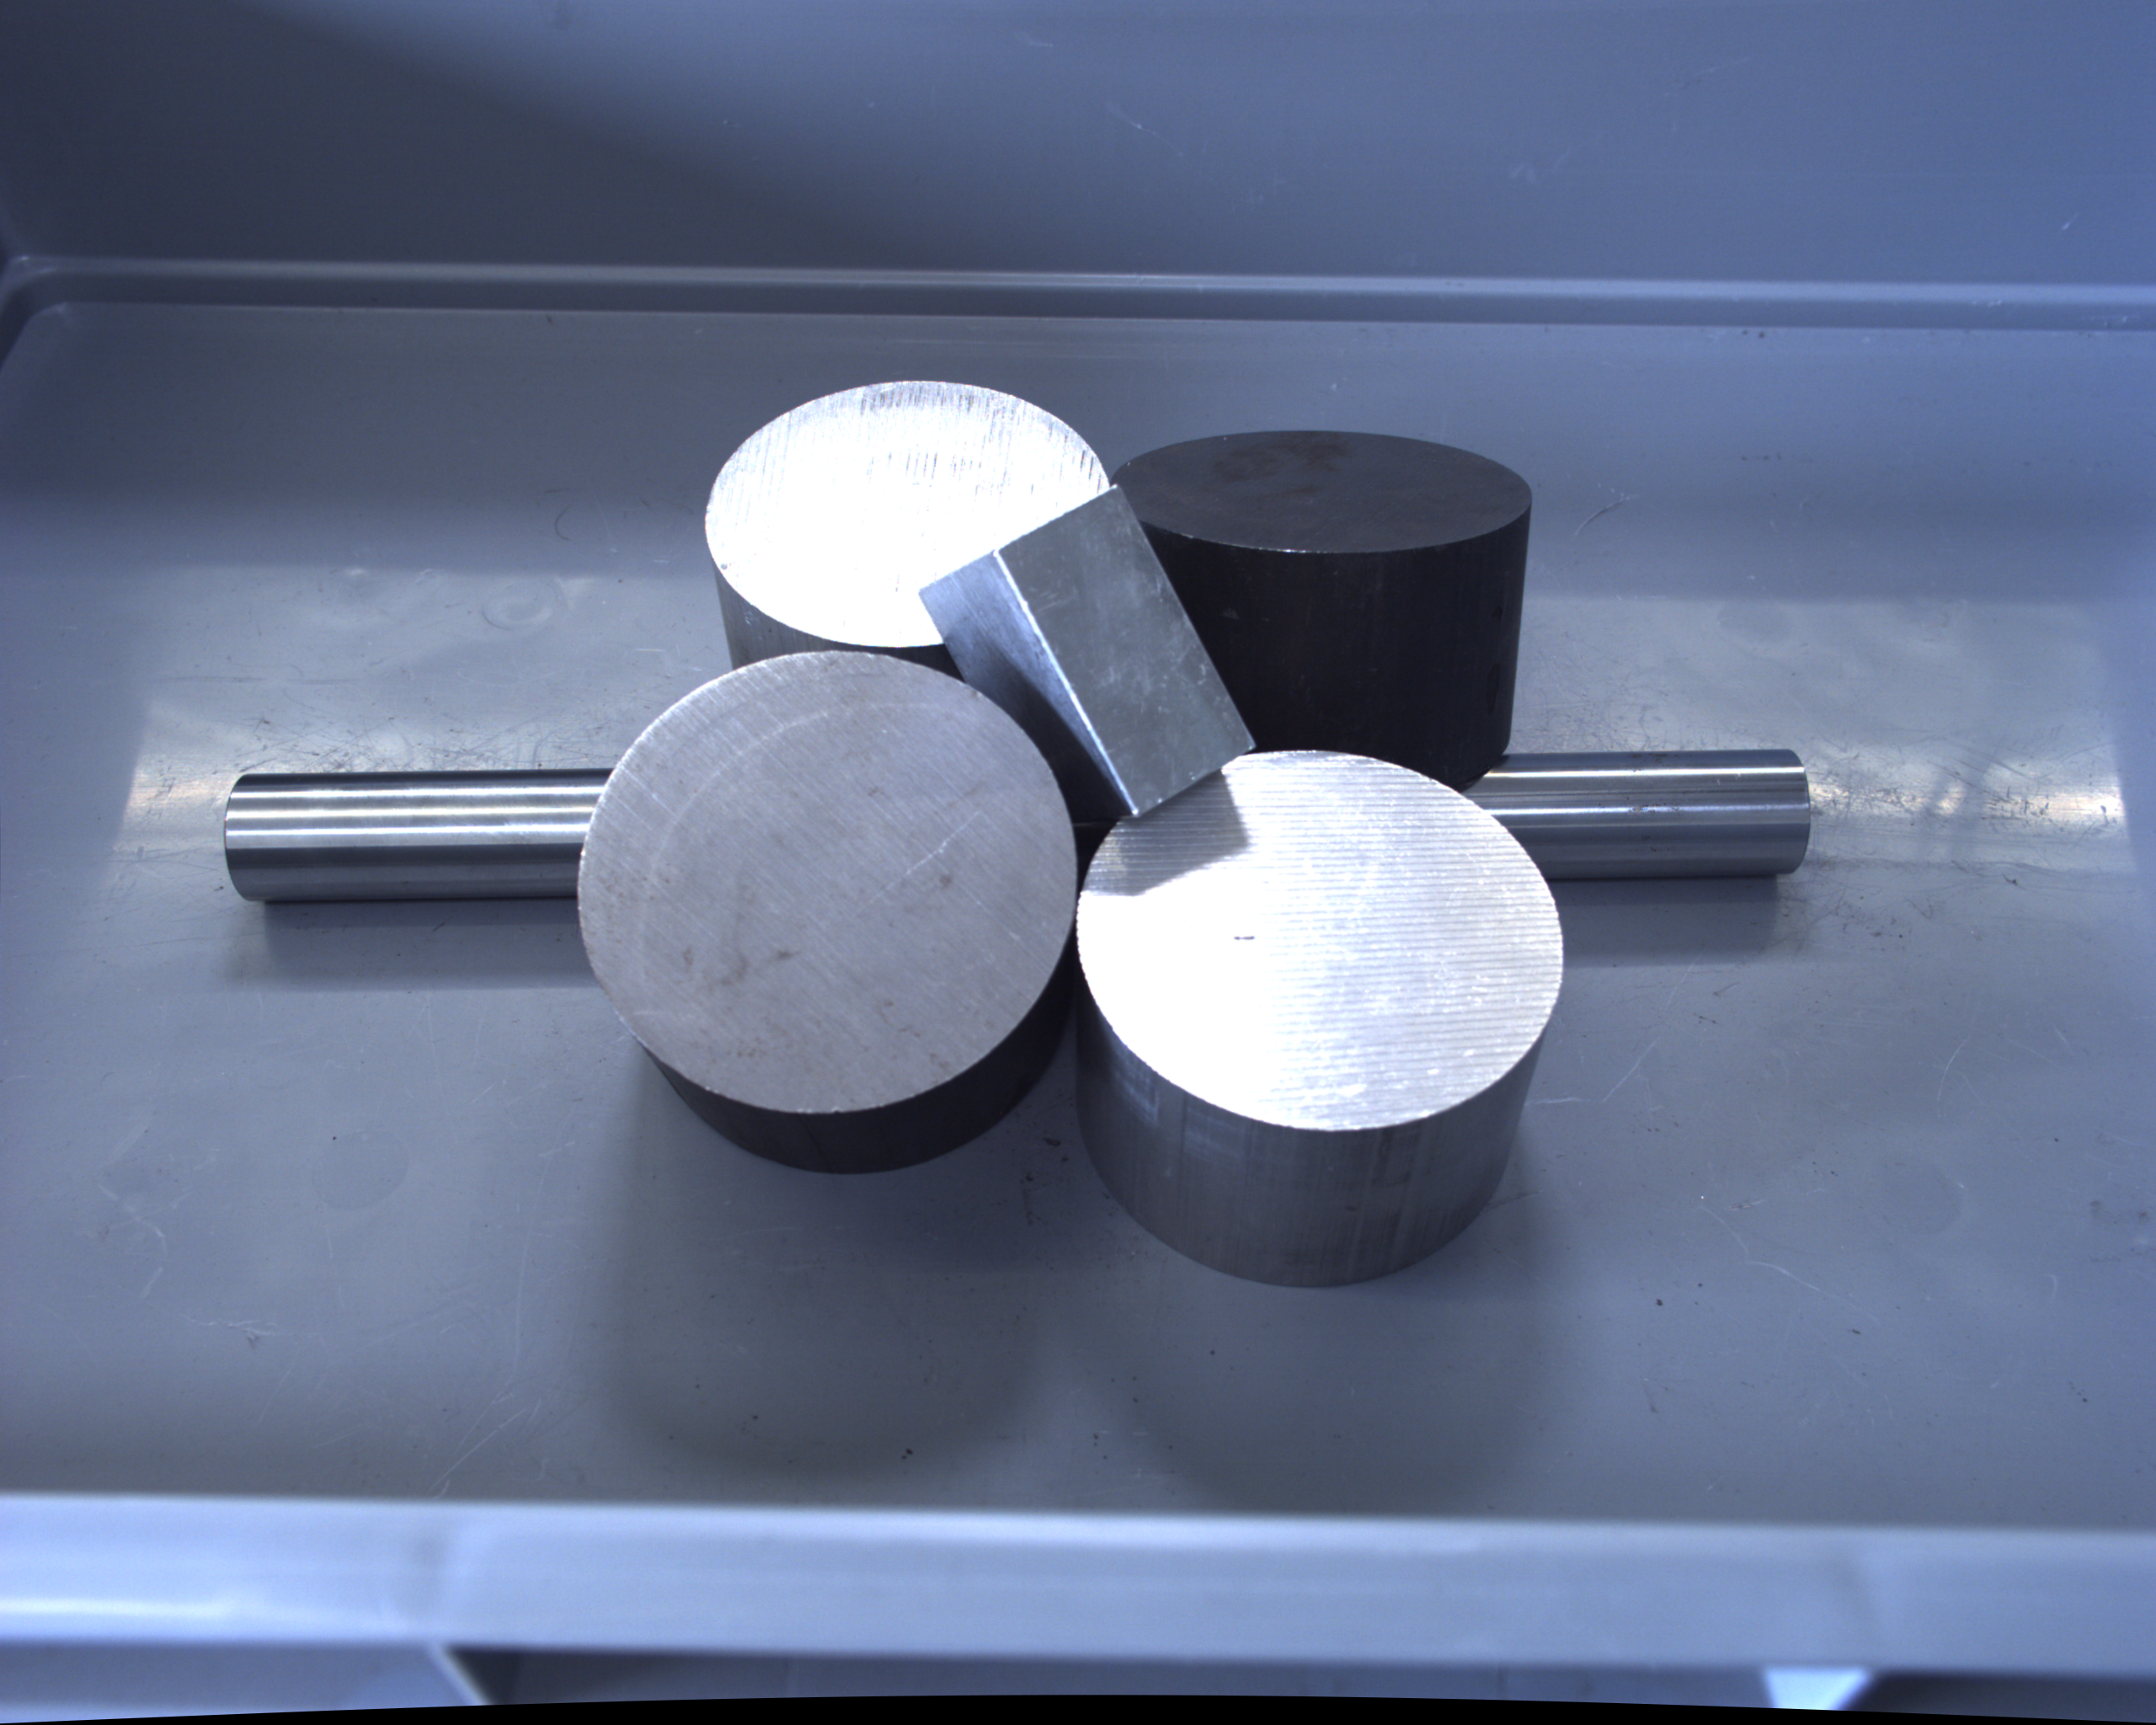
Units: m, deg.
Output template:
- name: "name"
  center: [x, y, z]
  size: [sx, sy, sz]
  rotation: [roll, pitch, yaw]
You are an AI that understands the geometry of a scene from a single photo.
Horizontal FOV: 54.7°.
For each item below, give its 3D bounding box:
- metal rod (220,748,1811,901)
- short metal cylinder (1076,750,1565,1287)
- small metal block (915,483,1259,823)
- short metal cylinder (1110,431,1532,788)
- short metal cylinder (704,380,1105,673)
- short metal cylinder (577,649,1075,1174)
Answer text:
- name: "metal rod"
  center: [-0.011, -0.008, 0.409]
  size: [0.302, 0.025, 0.025]
  rotation: [-1, 50, -1]
- name: "short metal cylinder"
  center: [0.040, 0.026, 0.364]
  size: [0.081, 0.050, 0.080]
  rotation: [0, 50, 0]
- name: "small metal block"
  center: [0.000, -0.035, 0.370]
  size: [0.025, 0.050, 0.050]
  rotation: [-32, 99, -17]
- name: "short metal cylinder"
  center: [0.047, -0.050, 0.412]
  size: [0.081, 0.050, 0.080]
  rotation: [0, 27, 0]
- name: "short metal cylinder"
  center: [-0.033, -0.055, 0.432]
  size: [0.081, 0.050, 0.080]
  rotation: [0, 50, 0]
- name: "short metal cylinder"
  center: [-0.041, 0.010, 0.362]
  size: [0.081, 0.050, 0.080]
  rotation: [0, 70, -1]
